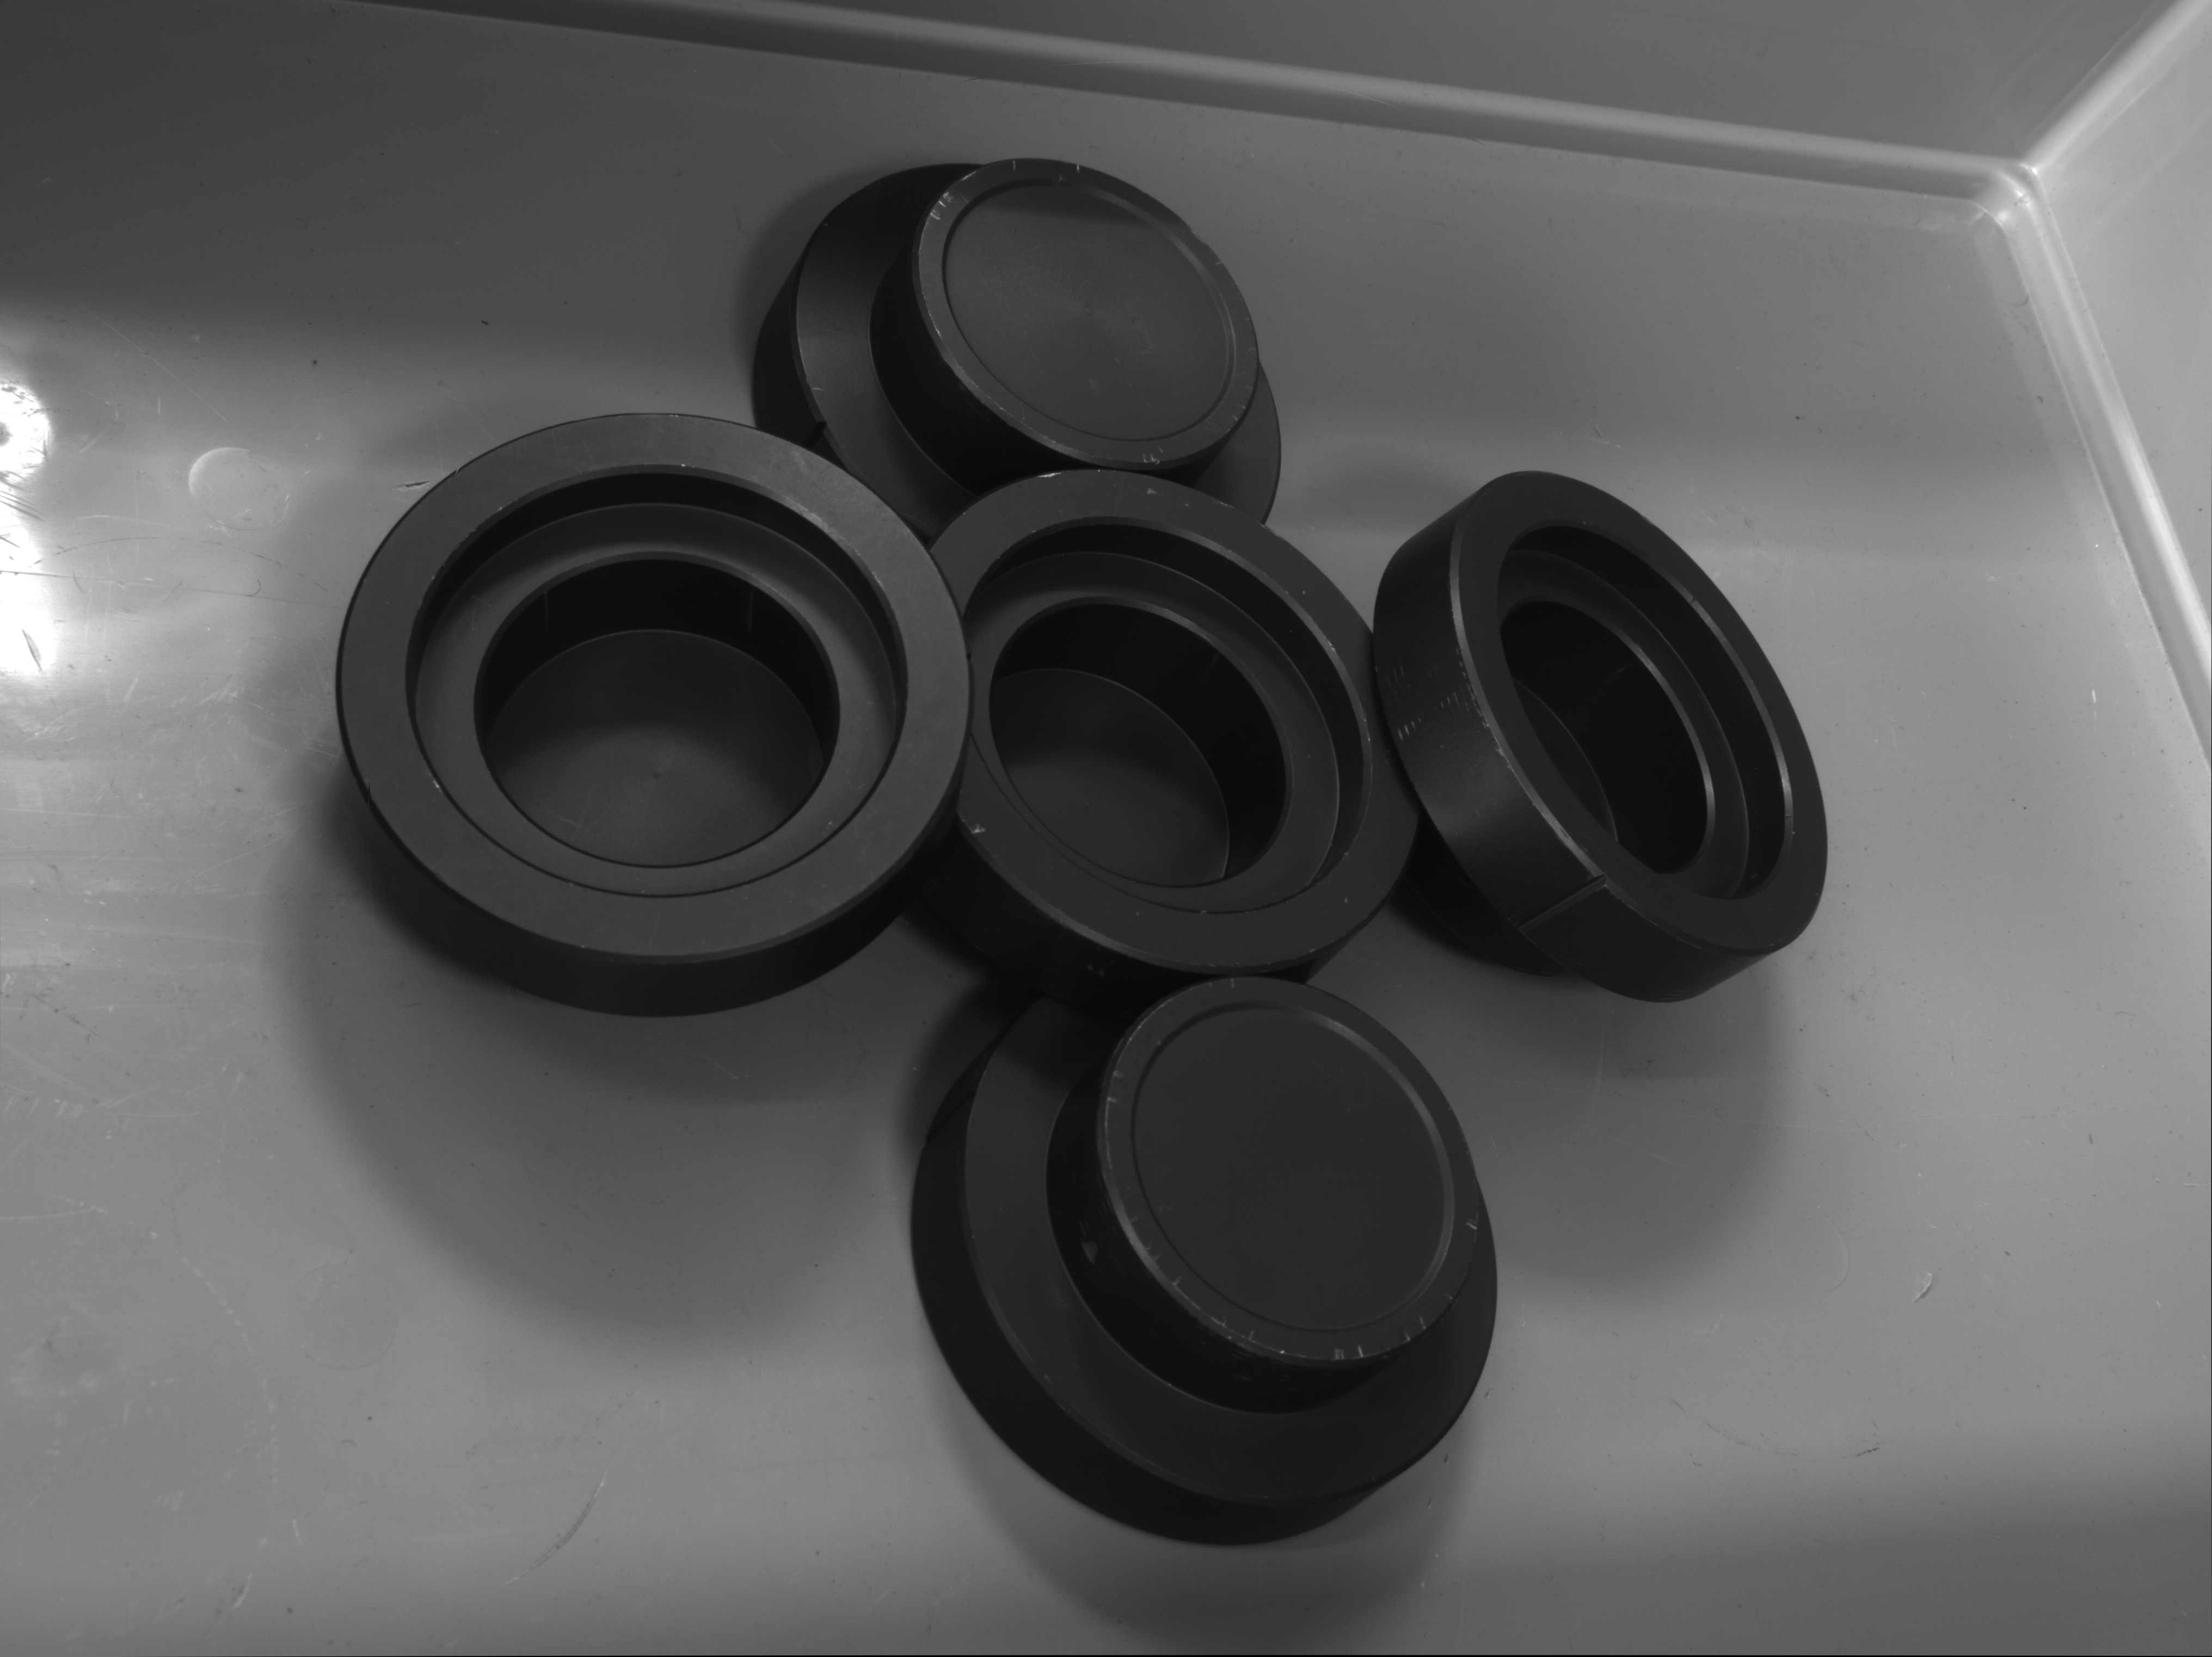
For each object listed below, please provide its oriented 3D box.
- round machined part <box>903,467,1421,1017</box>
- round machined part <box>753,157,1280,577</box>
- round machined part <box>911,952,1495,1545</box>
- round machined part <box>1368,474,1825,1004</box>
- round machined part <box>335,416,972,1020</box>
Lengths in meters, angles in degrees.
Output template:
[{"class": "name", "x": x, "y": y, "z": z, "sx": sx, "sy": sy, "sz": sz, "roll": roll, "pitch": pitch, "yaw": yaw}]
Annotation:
[{"class": "round machined part", "x": 0.002, "y": -0.010, "z": 0.633, "sx": 0.098, "sy": 0.042, "sz": 0.098, "roll": 14, "pitch": 56, "yaw": -21}, {"class": "round machined part", "x": -0.011, "y": -0.083, "z": 0.670, "sx": 0.098, "sy": 0.042, "sz": 0.098, "roll": 14, "pitch": 56, "yaw": -21}, {"class": "round machined part", "x": 0.021, "y": 0.063, "z": 0.599, "sx": 0.098, "sy": 0.042, "sz": 0.098, "roll": 14, "pitch": 56, "yaw": -21}, {"class": "round machined part", "x": 0.083, "y": -0.012, "z": 0.667, "sx": 0.098, "sy": 0.042, "sz": 0.098, "roll": 27, "pitch": 46, "yaw": -31}, {"class": "round machined part", "x": -0.072, "y": -0.014, "z": 0.586, "sx": 0.098, "sy": 0.042, "sz": 0.098, "roll": 4, "pitch": 62, "yaw": -7}]
